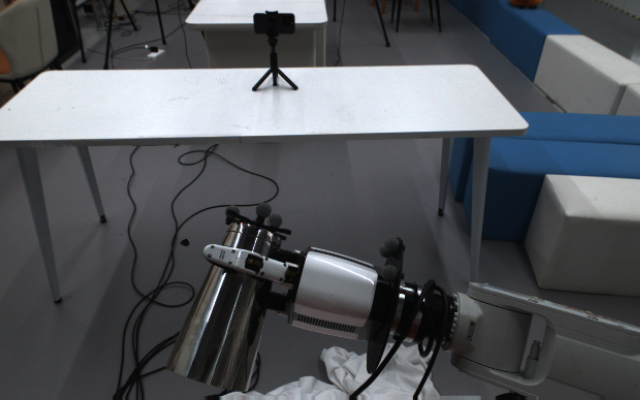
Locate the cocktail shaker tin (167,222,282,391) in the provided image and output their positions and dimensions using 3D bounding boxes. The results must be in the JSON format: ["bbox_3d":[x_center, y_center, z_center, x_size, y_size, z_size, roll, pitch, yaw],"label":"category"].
[{"bbox_3d":[-0.098,0.119,0.552,0.093,0.093,0.170,12,73,14],"label":"cocktail shaker tin"}]
